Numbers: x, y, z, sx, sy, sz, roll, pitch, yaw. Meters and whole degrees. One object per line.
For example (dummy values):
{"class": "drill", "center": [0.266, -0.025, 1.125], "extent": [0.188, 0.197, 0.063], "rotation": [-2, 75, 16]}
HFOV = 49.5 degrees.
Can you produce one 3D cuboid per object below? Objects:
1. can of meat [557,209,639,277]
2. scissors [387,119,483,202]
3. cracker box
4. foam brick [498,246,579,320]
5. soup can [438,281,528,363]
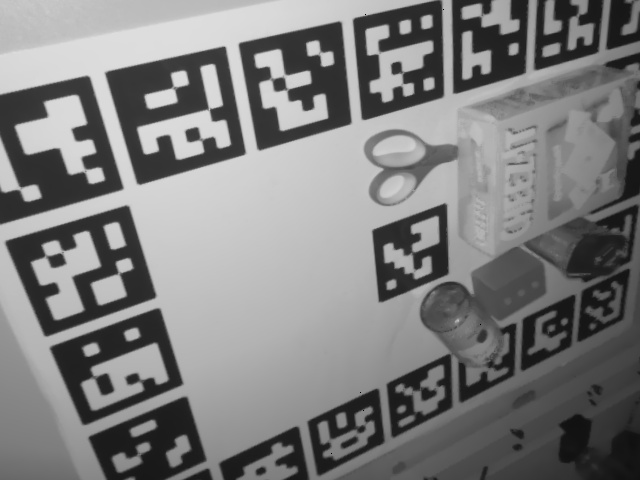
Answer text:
{"class": "can of meat", "center": [0.357, -0.002, 0.852], "extent": [0.103, 0.083, 0.057], "rotation": [-6, 114, -24]}
{"class": "scissors", "center": [0.166, -0.109, 0.739], "extent": [0.205, 0.016, 0.087], "rotation": [-24, 119, -16]}
{"class": "cracker box", "center": [0.289, -0.104, 0.765], "extent": [0.216, 0.071, 0.163], "rotation": [-26, 122, -19]}
{"class": "foam brick", "center": [0.268, 0.050, 0.852], "extent": [0.079, 0.051, 0.052], "rotation": [-29, 121, -12]}
{"class": "soup can", "center": [0.199, 0.101, 0.838], "extent": [0.103, 0.067, 0.068], "rotation": [36, 93, -39]}
